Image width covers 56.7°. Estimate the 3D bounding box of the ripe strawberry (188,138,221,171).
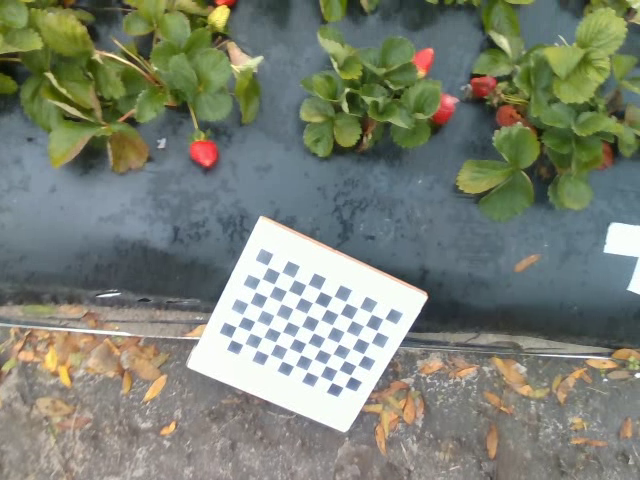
[{"bbox_3d":[-0.179,-0.131,0.914,0.045,0.054,0.048,-23,-28,8],"label":"ripe strawberry"}]
